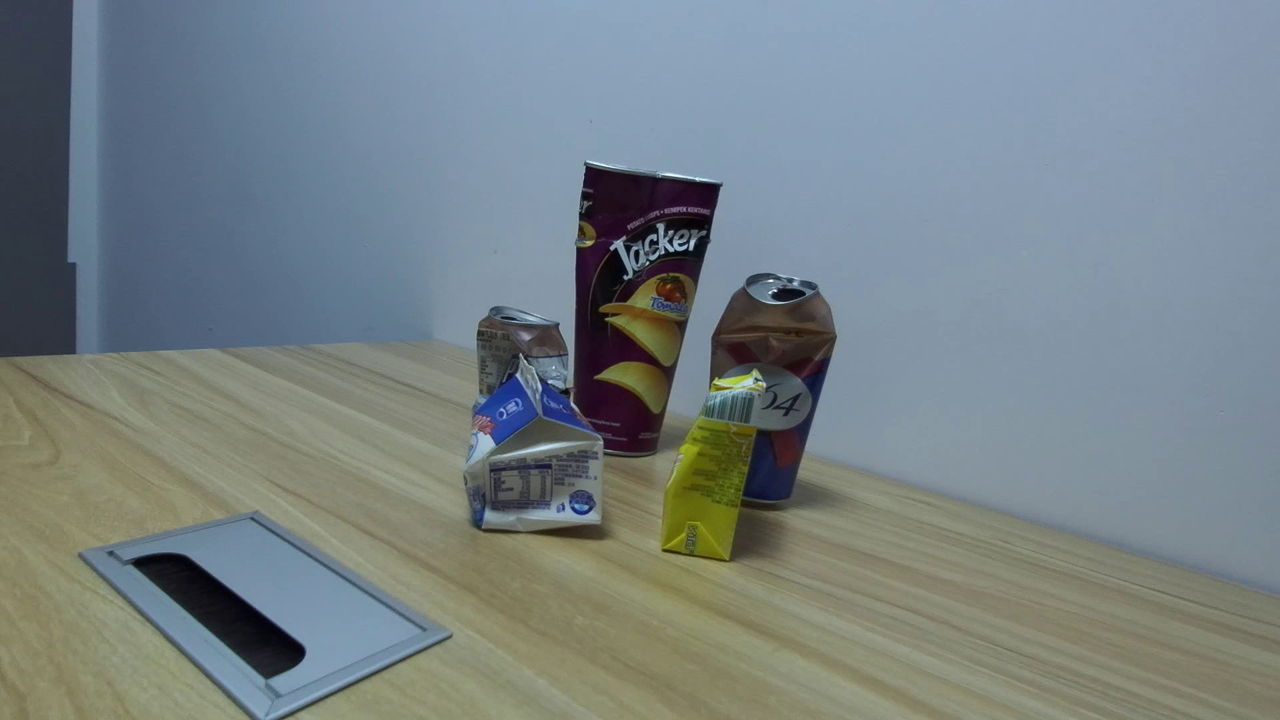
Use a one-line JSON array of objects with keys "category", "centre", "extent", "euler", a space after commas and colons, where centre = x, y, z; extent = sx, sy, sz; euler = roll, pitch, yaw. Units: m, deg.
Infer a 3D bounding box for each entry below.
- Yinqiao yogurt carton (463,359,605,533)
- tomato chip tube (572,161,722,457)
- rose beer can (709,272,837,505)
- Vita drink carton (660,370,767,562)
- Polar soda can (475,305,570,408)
[{"category": "Yinqiao yogurt carton", "centre": [-0.068, 0.050, 0.432], "extent": [0.080, 0.097, 0.074], "euler": [-4, 14, -16]}, {"category": "tomato chip tube", "centre": [-0.007, -0.040, 0.595], "extent": [0.089, 0.235, 0.078], "euler": [18, 15, 35]}, {"category": "rose beer can", "centre": [0.092, 0.022, 0.519], "extent": [0.069, 0.168, 0.069], "euler": [2, 17, -17]}, {"category": "Vita drink carton", "centre": [0.043, 0.058, 0.436], "extent": [0.046, 0.109, 0.071], "euler": [10, 10, 2]}, {"category": "Polar soda can", "centre": [-0.091, 0.019, 0.545], "extent": [0.074, 0.114, 0.070], "euler": [2, 17, -13]}]
